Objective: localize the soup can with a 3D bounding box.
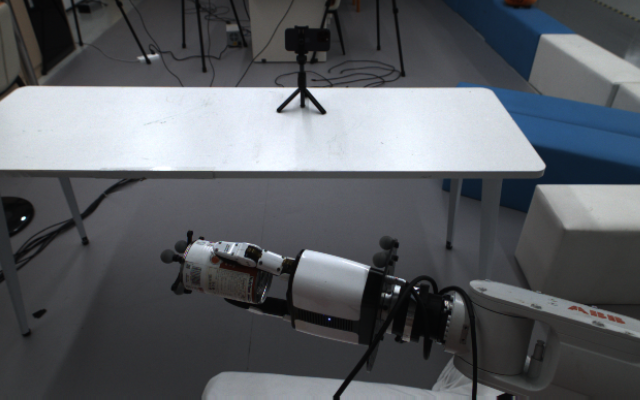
[{"bbox_3d":[-0.115,0.092,0.618,0.101,0.067,0.067,10,35,10],"label":"soup can"}]
